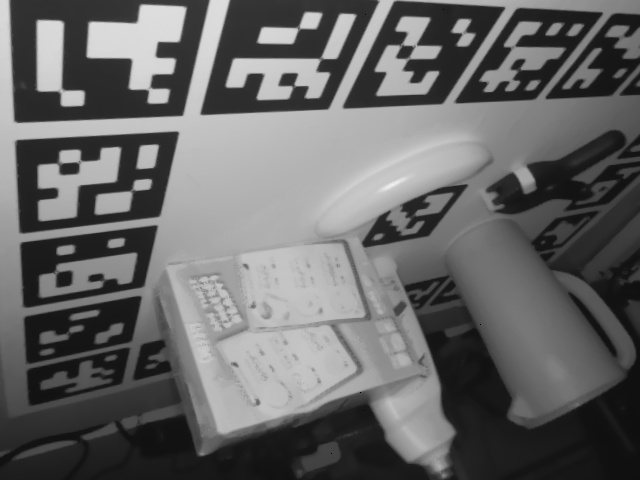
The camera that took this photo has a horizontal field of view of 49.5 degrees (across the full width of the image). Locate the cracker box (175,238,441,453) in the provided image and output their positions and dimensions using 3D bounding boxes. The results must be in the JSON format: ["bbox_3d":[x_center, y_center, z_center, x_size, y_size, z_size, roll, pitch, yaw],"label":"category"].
[{"bbox_3d":[-0.013,0.094,0.678,0.217,0.164,0.071,-9,150,-30],"label":"cracker box"}]

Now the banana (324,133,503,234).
[{"bbox_3d":[0.090,-0.060,0.681,0.197,0.039,0.074,-26,152,2],"label":"banana"}]

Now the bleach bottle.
[{"bbox_3d":[0.113,0.139,0.793,0.104,0.251,0.067,-9,148,-27],"label":"bleach bottle"}]

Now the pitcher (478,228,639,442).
[{"bbox_3d":[0.298,0.105,0.842,0.190,0.243,0.132,-16,151,-10],"label":"pitcher"}]

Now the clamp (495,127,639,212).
[{"bbox_3d":[0.281,-0.070,0.799,0.166,0.036,0.121,-16,152,-12],"label":"clamp"}]
